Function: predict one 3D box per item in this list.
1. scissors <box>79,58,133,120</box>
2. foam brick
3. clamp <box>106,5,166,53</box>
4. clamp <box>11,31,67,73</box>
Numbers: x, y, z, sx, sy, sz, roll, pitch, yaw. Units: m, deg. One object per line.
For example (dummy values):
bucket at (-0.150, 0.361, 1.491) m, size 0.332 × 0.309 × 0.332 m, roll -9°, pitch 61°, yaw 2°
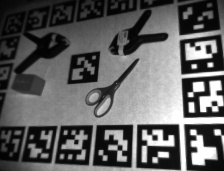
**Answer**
scissors at (-0.009, -0.002, 0.603) m, size 0.087 × 0.016 × 0.203 m, roll 39°, pitch 87°, yaw 20°
foam brick at (-0.274, -0.004, 0.692) m, size 0.077 × 0.052 × 0.052 m, roll 3°, pitch 74°, yaw 27°
clamp at (0.056, -0.145, 0.625) m, size 0.164 × 0.037 × 0.121 m, roll -31°, pitch 71°, yaw 9°
clamp at (-0.248, -0.132, 0.733) m, size 0.201 × 0.037 × 0.165 m, roll -8°, pitch 66°, yaw 18°
